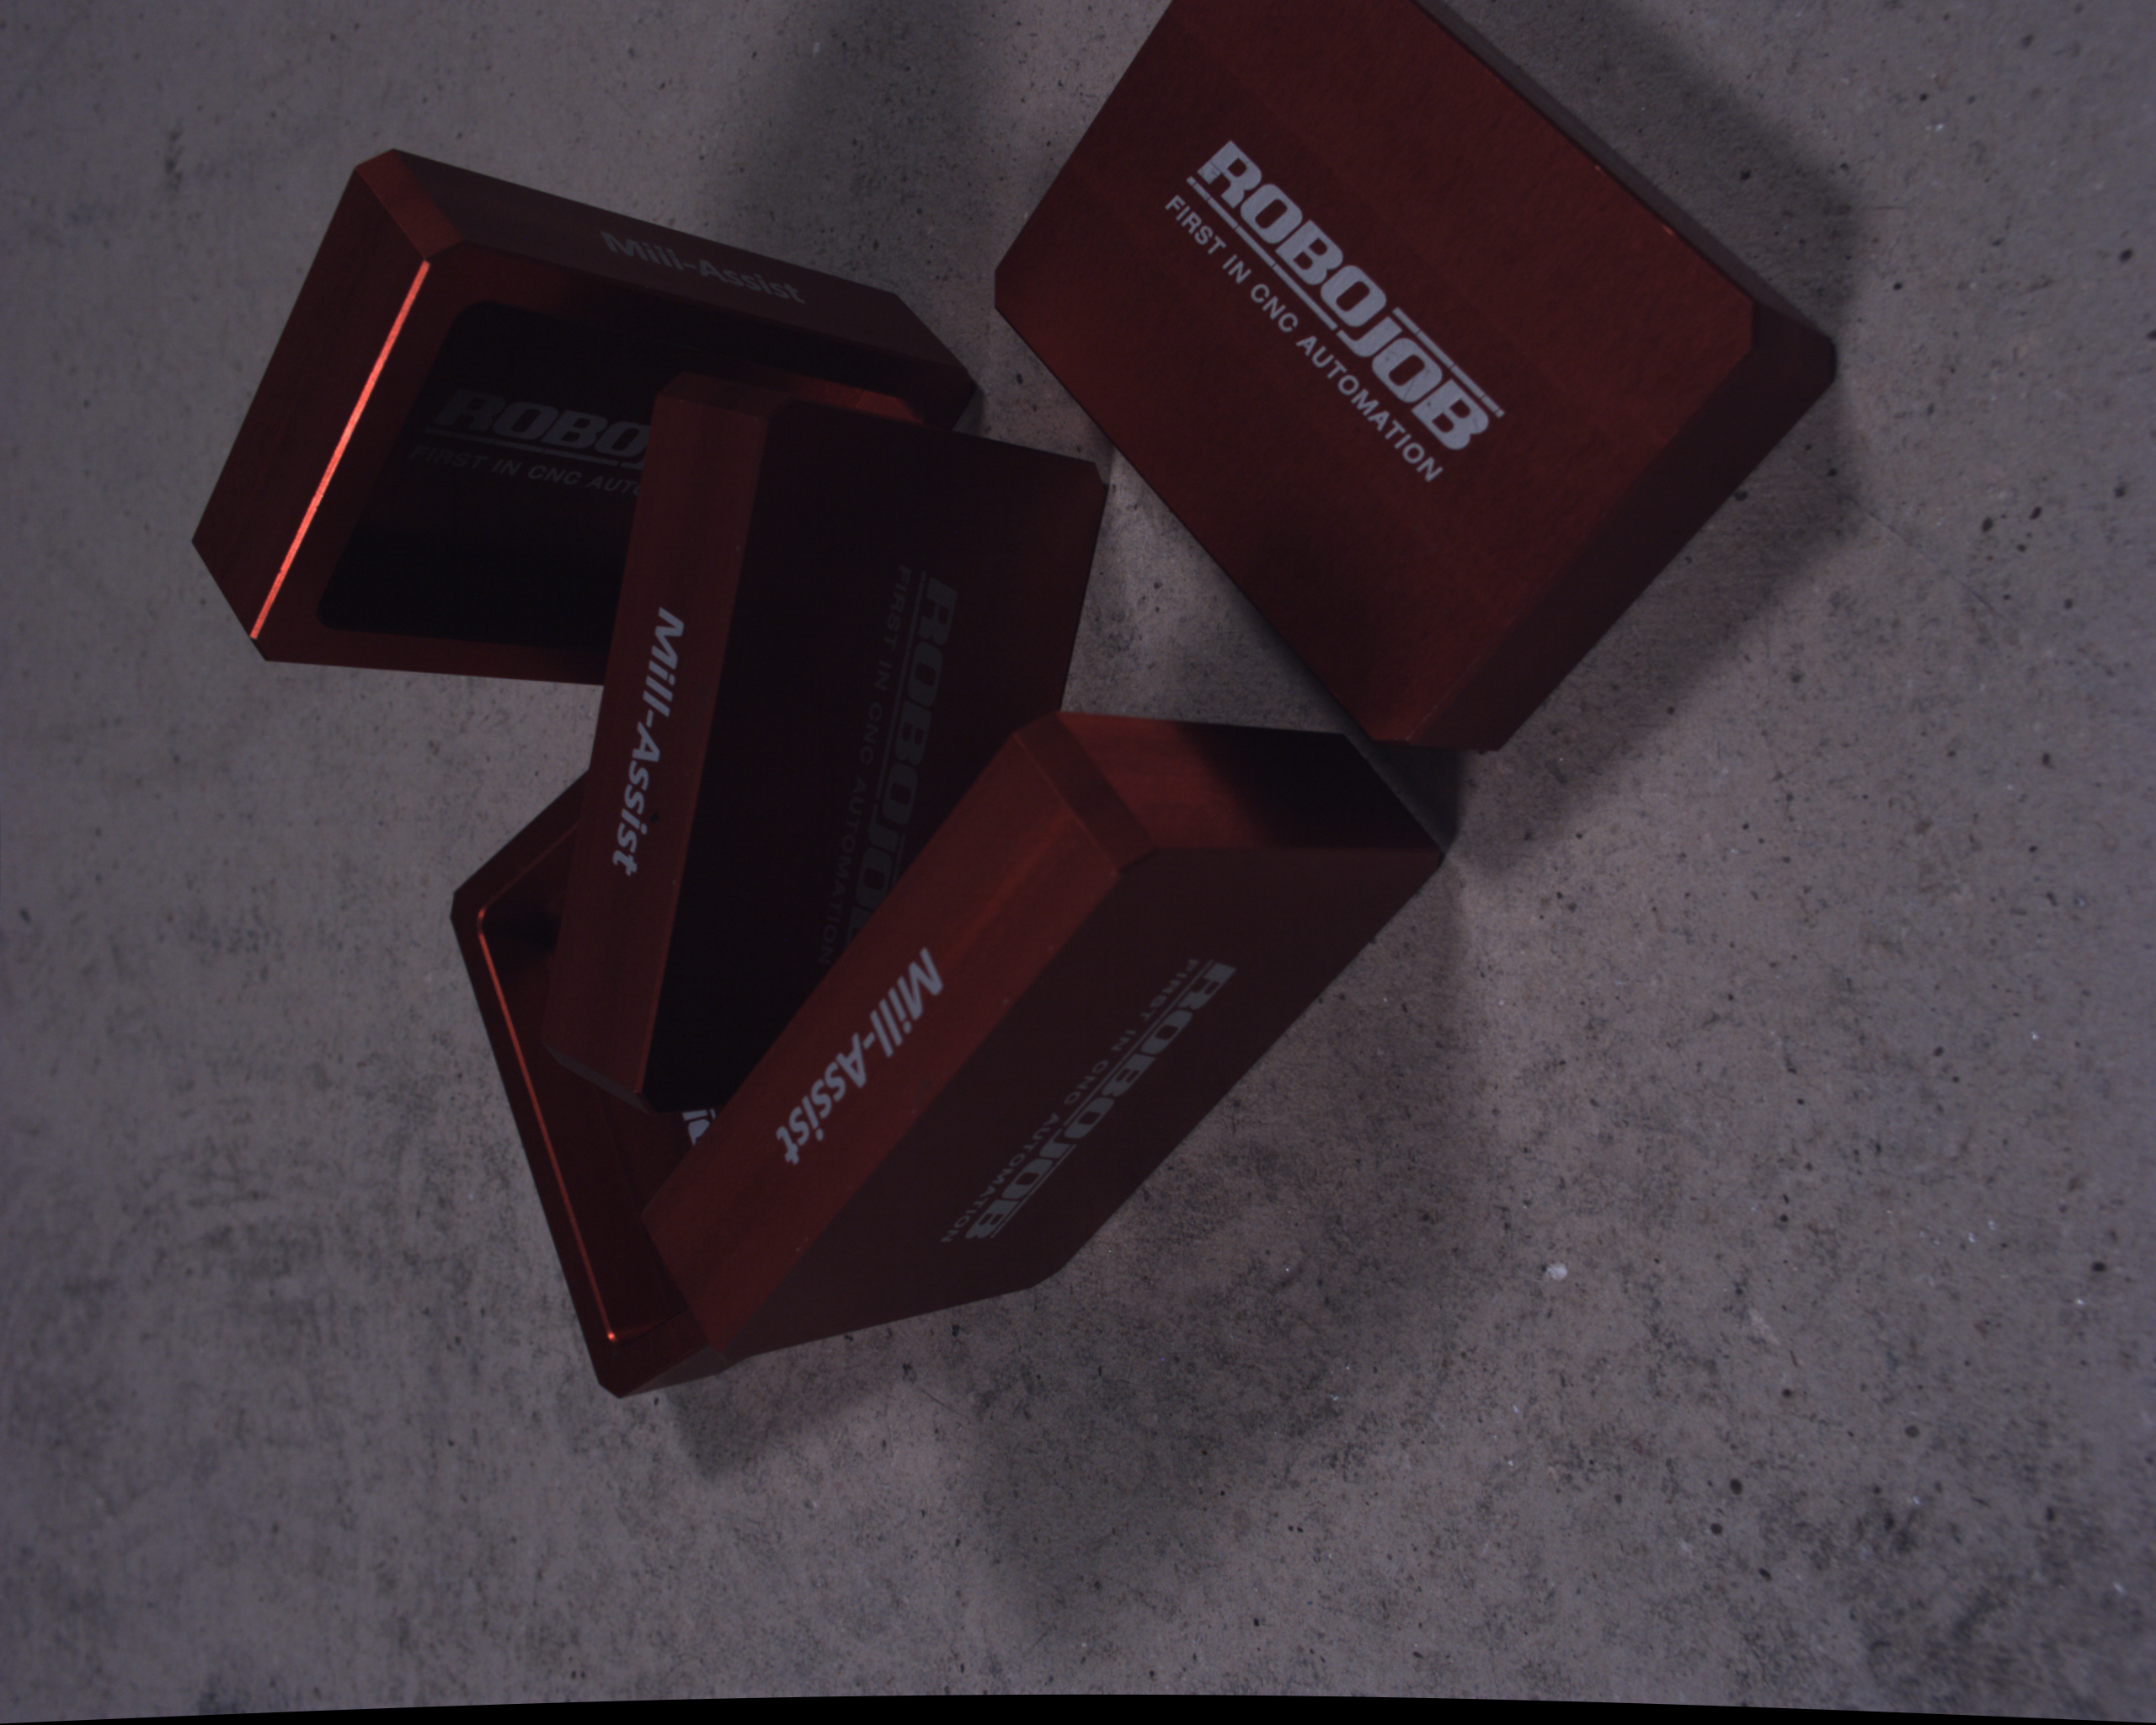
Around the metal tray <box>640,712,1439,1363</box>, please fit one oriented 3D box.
[{"bbox_3d":[-0.007,0.032,0.368,0.129,0.091,0.030,-51,61,28],"label":"metal tray"}]

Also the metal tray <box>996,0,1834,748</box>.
[{"bbox_3d":[0.051,-0.094,0.360,0.090,0.030,0.130,-52,60,27],"label":"metal tray"}]

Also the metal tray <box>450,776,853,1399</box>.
[{"bbox_3d":[-0.091,0.044,0.475,0.090,0.030,0.130,-35,69,34],"label":"metal tray"}]

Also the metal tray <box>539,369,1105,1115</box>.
[{"bbox_3d":[-0.047,-0.021,0.400,0.030,0.091,0.129,21,103,38],"label":"metal tray"}]

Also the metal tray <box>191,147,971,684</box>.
[{"bbox_3d":[-0.093,-0.079,0.413,0.030,0.131,0.090,51,119,27],"label":"metal tray"}]
